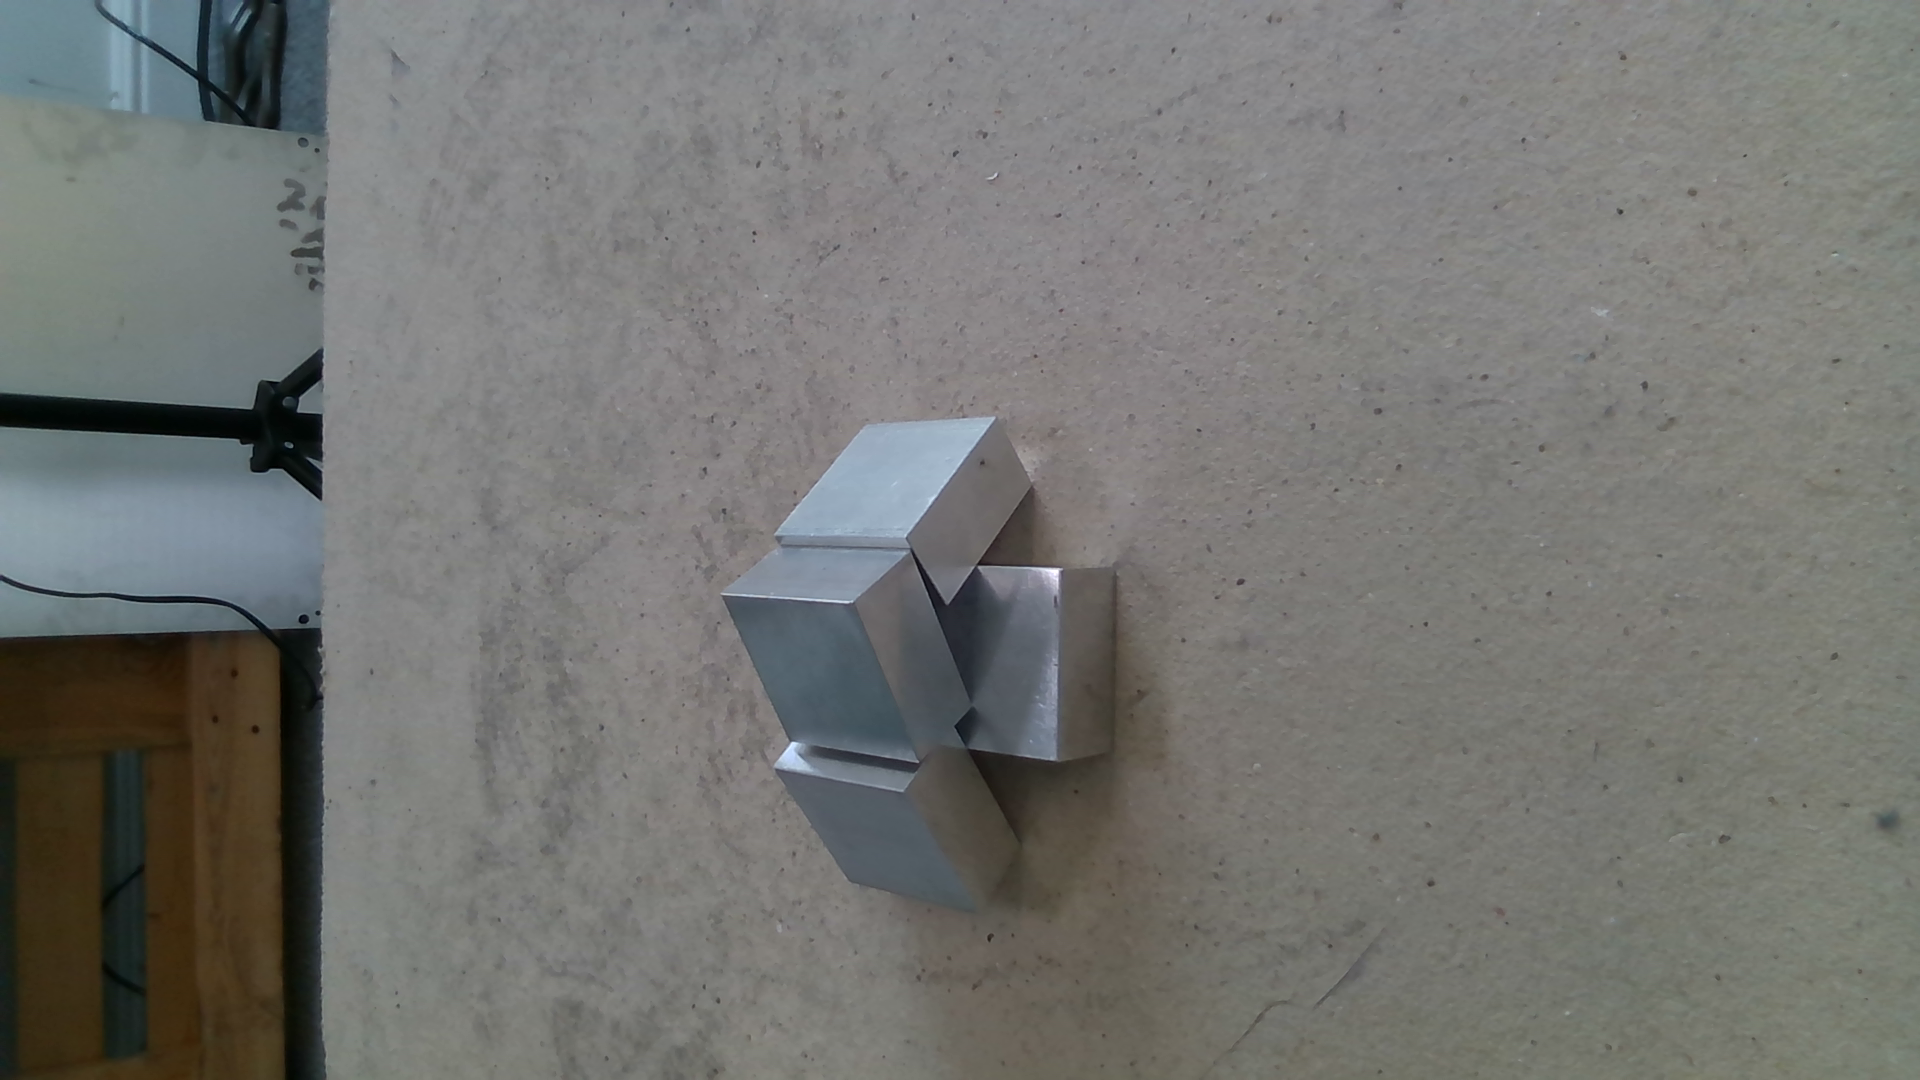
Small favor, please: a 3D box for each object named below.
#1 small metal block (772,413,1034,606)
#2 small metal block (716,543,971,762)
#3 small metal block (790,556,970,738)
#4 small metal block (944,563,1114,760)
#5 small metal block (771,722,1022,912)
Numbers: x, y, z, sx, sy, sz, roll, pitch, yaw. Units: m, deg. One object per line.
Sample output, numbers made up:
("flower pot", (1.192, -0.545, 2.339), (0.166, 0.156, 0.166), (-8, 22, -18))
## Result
("small metal block", (-0.016, -0.009, 0.386), (0.050, 0.050, 0.025), (1, 133, 40))
("small metal block", (-0.031, 0.029, 0.370), (0.050, 0.025, 0.050), (2, 122, 40))
("small metal block", (-0.024, 0.030, 0.411), (0.050, 0.025, 0.050), (1, 91, 40))
("small metal block", (0.014, 0.031, 0.379), (0.050, 0.025, 0.050), (1, 91, 40))
("small metal block", (-0.018, 0.075, 0.390), (0.050, 0.025, 0.050), (2, 131, 41))
